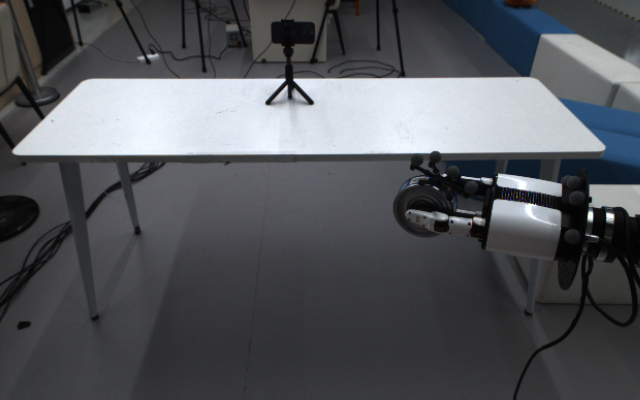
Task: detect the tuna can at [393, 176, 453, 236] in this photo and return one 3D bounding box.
[{"bbox_3d":[0.149,0.007,0.681,0.085,0.085,0.034,15,31,18],"label":"tuna can"}]
